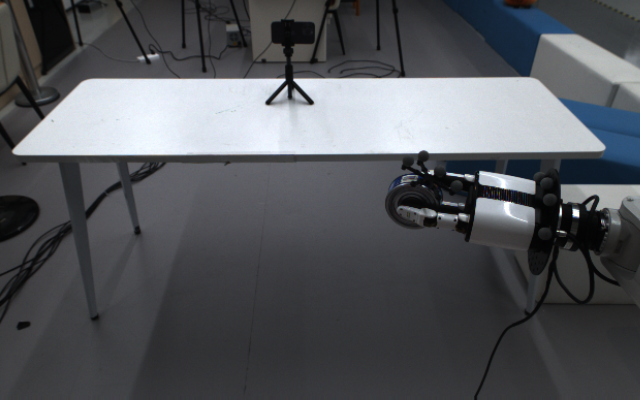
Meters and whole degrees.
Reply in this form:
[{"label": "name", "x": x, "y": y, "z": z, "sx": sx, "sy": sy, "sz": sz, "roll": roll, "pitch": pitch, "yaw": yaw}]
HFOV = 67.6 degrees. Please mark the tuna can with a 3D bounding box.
[{"label": "tuna can", "x": 0.148, "y": 0.008, "z": 0.744, "sx": 0.085, "sy": 0.085, "sz": 0.034, "roll": 12, "pitch": 35, "yaw": 14}]
